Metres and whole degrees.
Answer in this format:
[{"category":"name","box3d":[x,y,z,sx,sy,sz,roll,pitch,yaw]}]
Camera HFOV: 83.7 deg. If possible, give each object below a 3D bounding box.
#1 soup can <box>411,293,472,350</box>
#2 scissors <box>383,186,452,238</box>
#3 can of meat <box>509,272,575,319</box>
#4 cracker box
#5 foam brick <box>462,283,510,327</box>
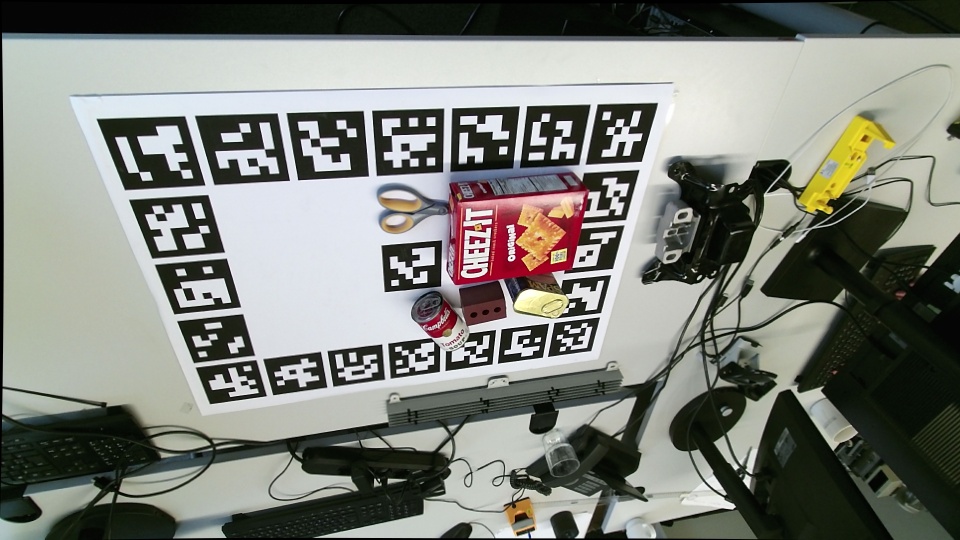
[{"category":"soup can","box3d":[-0.070,0.096,0.983,0.068,0.067,0.102,-36,132,9]},{"category":"scissors","box3d":[-0.050,-0.102,0.858,0.203,0.016,0.088,-10,126,-10]},{"category":"can of meat","box3d":[0.110,0.040,0.976,0.102,0.083,0.058,7,121,-21]},{"category":"cracker box","box3d":[0.068,-0.067,0.879,0.214,0.071,0.164,-12,128,-13]},{"category":"foam brick","box3d":[0.011,0.065,0.987,0.078,0.051,0.053,-14,126,-7]}]
